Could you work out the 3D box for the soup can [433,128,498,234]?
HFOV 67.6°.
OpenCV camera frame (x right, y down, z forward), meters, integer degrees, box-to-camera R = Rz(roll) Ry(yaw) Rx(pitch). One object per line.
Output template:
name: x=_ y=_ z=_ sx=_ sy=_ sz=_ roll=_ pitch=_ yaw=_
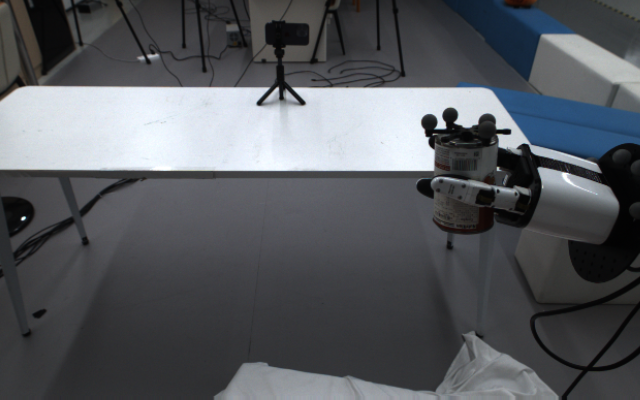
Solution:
soup can: x=0.163 y=-0.022 z=0.542 sx=0.067 sy=0.101 sz=0.067 roll=-4 pitch=21 yaw=1
